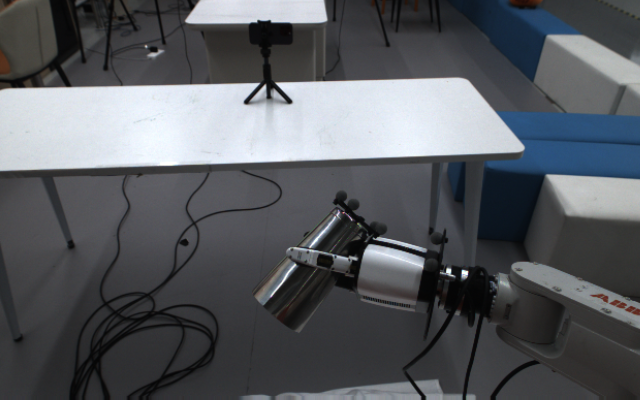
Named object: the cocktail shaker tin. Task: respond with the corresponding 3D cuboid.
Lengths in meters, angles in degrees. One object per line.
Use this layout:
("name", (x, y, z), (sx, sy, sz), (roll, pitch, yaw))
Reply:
("cocktail shaker tin", (-0.007, 0.093, 0.703), (0.170, 0.093, 0.093), (-48, 49, -3))
